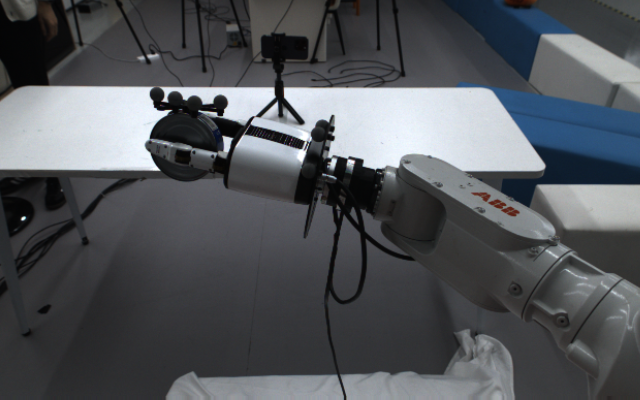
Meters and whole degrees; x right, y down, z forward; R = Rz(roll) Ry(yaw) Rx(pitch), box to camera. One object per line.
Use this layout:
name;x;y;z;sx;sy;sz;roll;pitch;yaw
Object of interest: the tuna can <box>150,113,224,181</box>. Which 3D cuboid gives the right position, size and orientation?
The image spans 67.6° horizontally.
tuna can;-0.165;-0.068;0.605;0.085;0.085;0.034;6;17;5
